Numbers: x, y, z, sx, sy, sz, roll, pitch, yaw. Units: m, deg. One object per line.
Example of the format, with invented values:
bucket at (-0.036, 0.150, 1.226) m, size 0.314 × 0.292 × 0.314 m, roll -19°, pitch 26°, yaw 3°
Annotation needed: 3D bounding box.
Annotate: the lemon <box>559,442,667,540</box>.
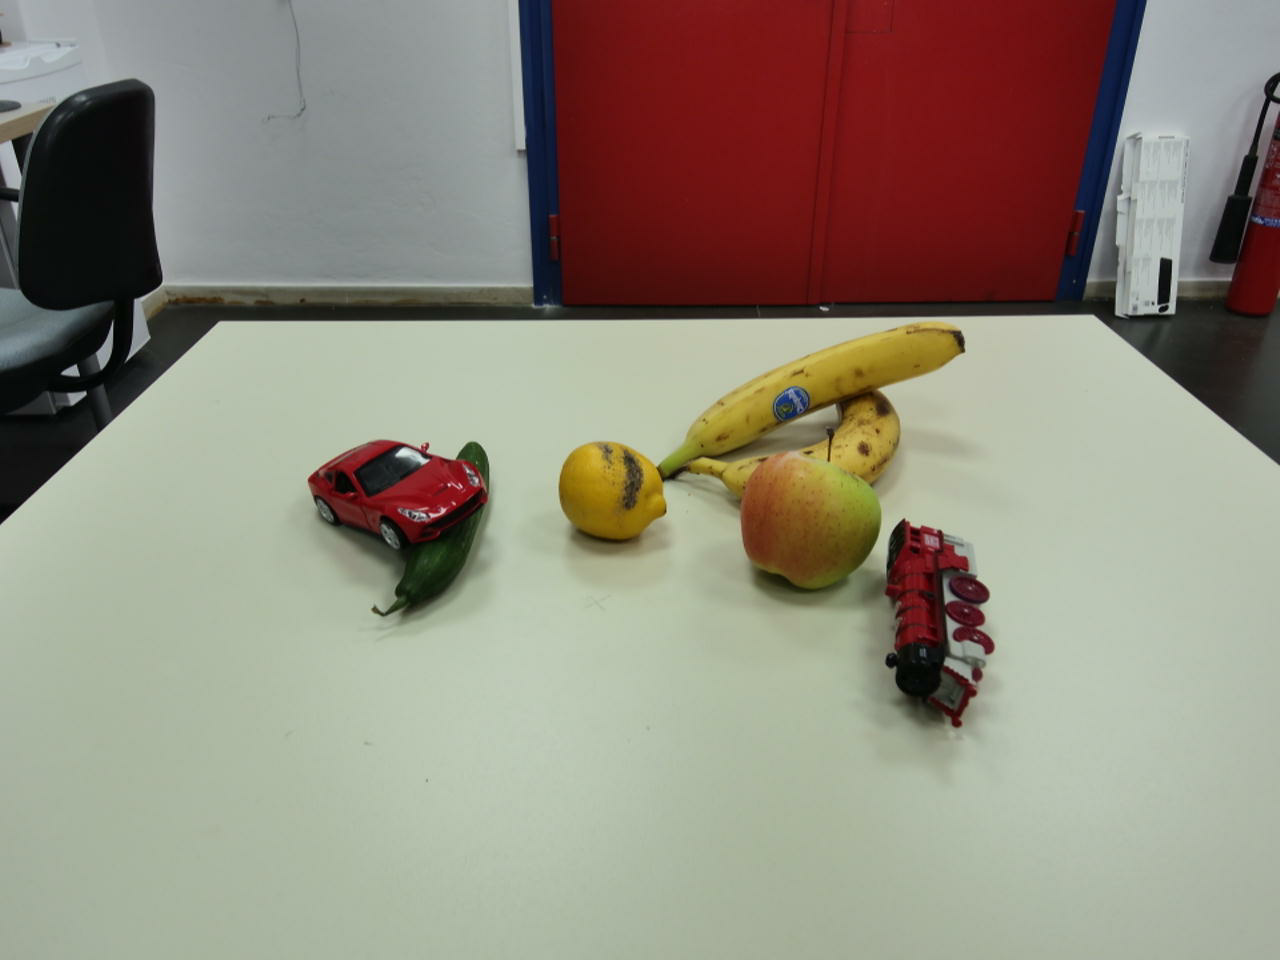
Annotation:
lemon at (-0.017, 0.006, 0.586) m, size 0.061 × 0.056 × 0.058 m, roll -4°, pitch 27°, yaw -7°
